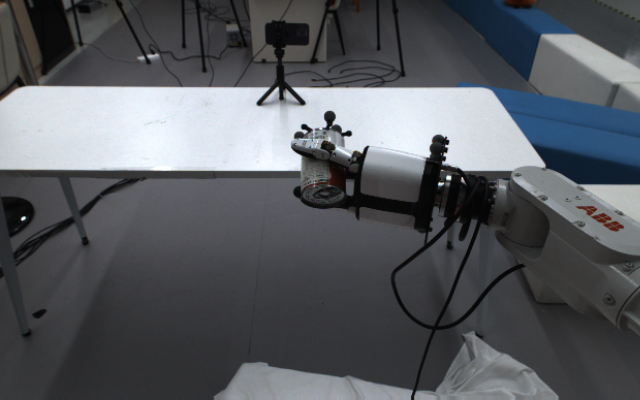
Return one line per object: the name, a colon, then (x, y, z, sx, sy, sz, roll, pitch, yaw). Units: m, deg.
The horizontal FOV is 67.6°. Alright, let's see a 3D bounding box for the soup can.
soup can: (0.005, -0.047, 0.716, 0.067, 0.067, 0.101, 1, 61, -2)
